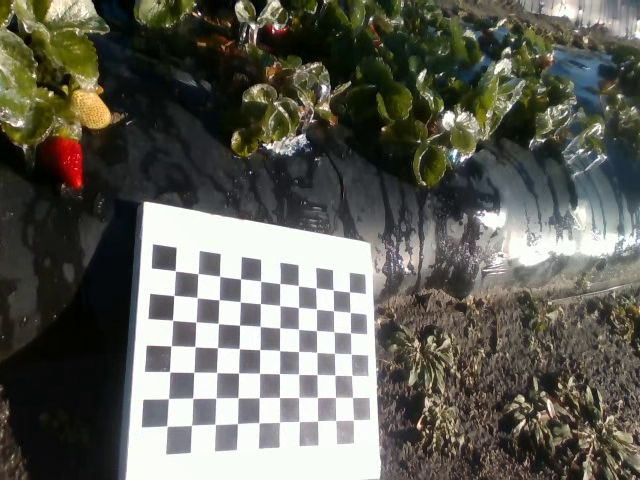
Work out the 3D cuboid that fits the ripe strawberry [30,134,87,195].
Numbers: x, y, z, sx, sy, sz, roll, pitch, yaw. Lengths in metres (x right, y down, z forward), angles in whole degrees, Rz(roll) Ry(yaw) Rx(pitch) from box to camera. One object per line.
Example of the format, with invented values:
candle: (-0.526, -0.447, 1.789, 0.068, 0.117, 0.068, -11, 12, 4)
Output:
ripe strawberry: (-0.224, -0.072, 0.556, 0.041, 0.052, 0.040, -11, -14, -40)
